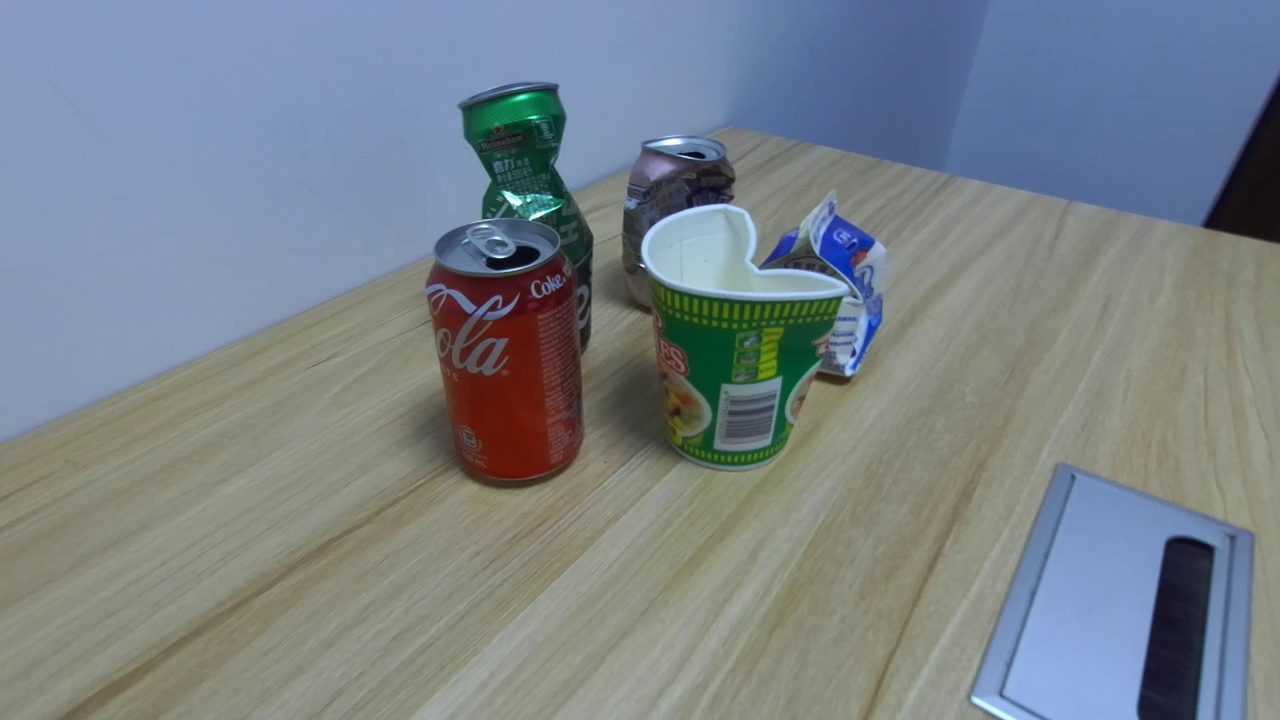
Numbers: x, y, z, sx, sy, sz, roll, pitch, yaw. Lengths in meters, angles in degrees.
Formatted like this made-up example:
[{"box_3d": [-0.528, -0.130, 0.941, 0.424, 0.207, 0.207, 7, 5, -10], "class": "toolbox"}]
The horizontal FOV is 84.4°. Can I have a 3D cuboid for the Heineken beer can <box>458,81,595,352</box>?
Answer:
[{"box_3d": [-0.062, -0.075, 0.410, 0.078, 0.159, 0.067, 16, 32, 34], "class": "Heineken beer can"}]

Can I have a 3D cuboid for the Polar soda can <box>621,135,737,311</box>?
[{"box_3d": [0.026, -0.088, 0.469, 0.070, 0.114, 0.074, 8, 34, 2], "class": "Polar soda can"}]

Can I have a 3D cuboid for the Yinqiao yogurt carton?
[{"box_3d": [0.106, -0.049, 0.426, 0.071, 0.094, 0.077, 11, 35, 27], "class": "Yinqiao yogurt carton"}]

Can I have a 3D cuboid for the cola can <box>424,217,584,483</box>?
[{"box_3d": [-0.063, -0.003, 0.344, 0.068, 0.120, 0.068, -1, 33, 1], "class": "cola can"}]

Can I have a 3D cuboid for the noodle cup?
[{"box_3d": [0.044, -0.008, 0.354, 0.087, 0.109, 0.093, -1, 34, -2], "class": "noodle cup"}]
